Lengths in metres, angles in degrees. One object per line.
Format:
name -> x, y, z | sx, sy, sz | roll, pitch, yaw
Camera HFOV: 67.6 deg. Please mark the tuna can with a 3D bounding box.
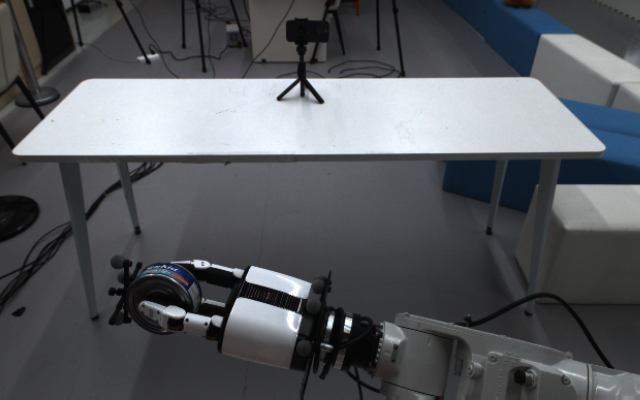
tuna can -> -0.189, 0.122, 0.595 | 0.085, 0.085, 0.034 | 4, 19, 3
